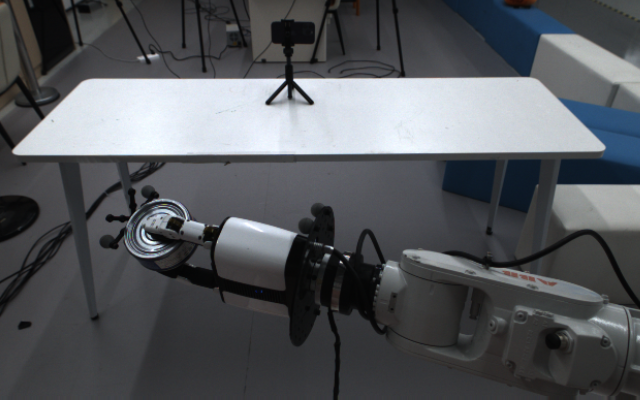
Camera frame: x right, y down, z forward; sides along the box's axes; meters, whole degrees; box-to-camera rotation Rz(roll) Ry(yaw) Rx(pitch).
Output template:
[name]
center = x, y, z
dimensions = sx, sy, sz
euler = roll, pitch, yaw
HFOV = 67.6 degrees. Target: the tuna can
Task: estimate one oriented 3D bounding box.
[tuna can]
center = -0.191, 0.041, 0.593
dimensions = 0.085, 0.034, 0.085
euler = -3, 60, 6
